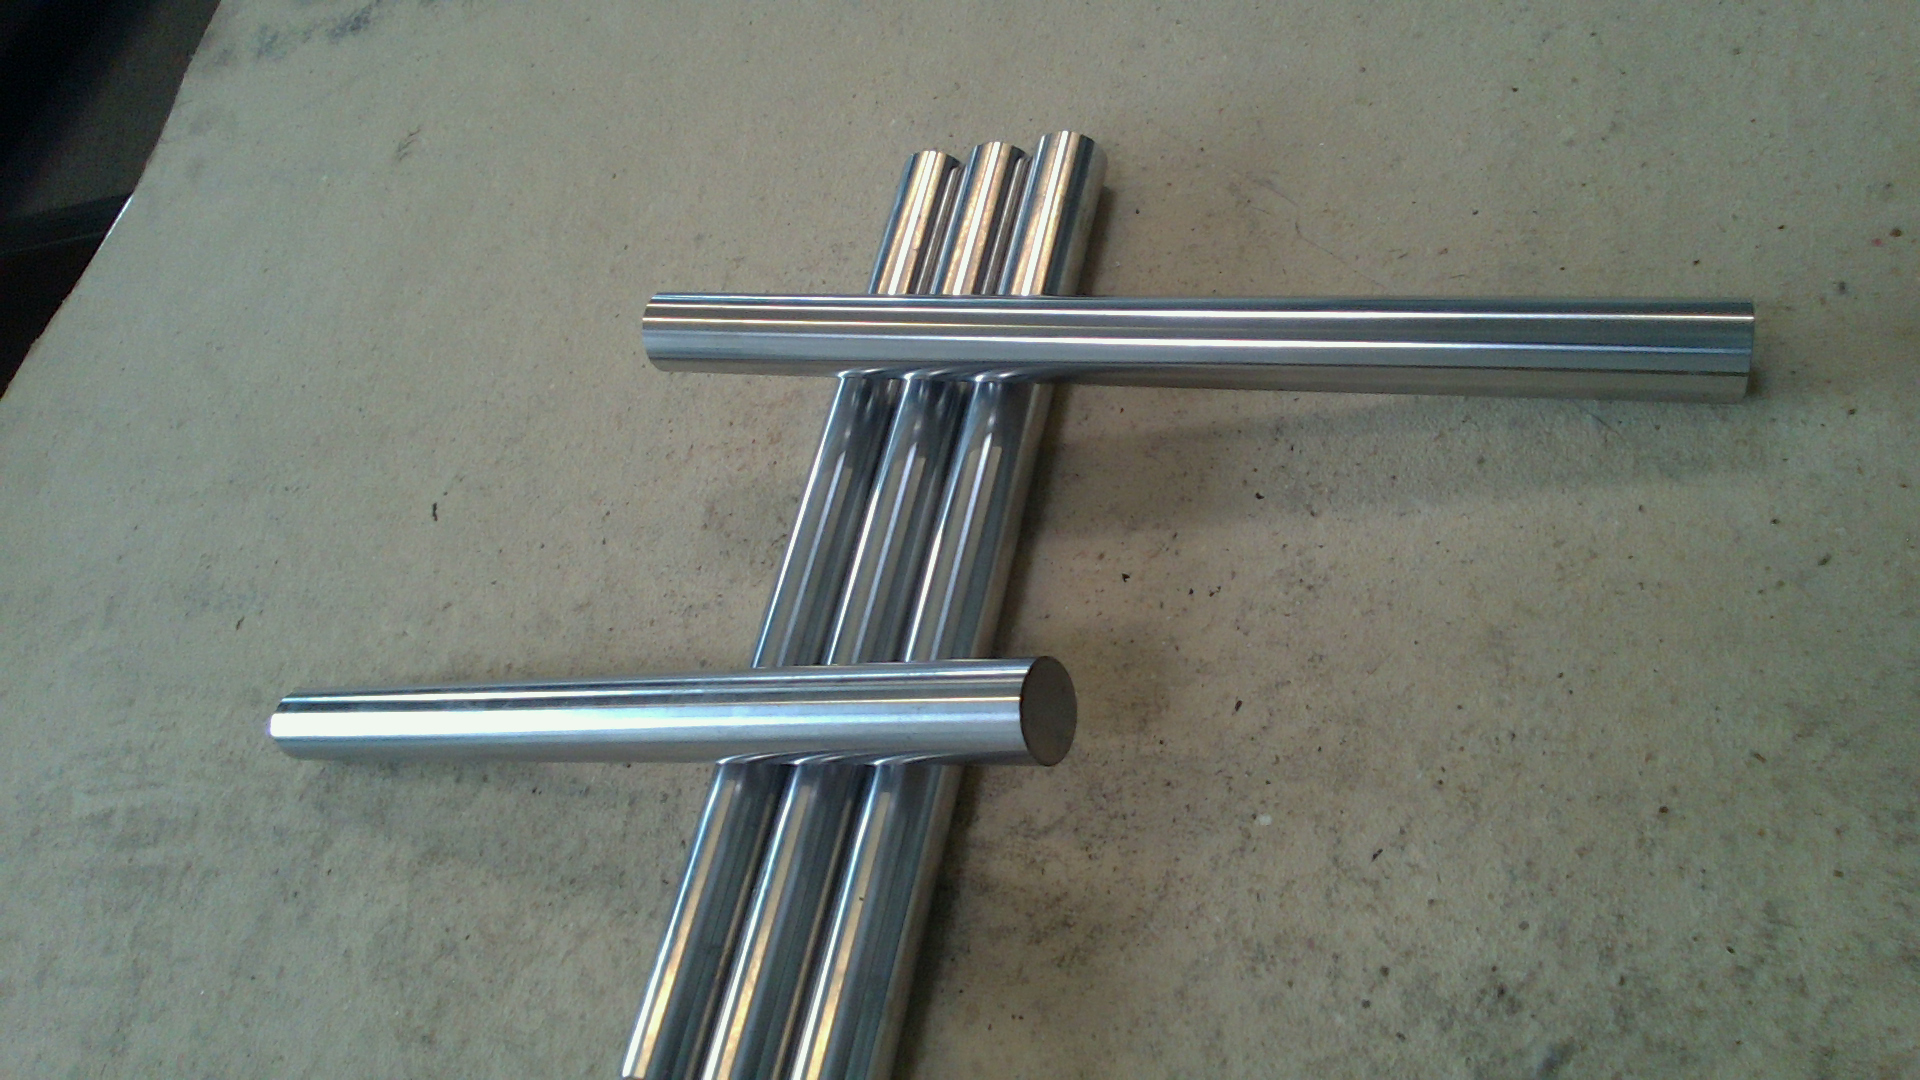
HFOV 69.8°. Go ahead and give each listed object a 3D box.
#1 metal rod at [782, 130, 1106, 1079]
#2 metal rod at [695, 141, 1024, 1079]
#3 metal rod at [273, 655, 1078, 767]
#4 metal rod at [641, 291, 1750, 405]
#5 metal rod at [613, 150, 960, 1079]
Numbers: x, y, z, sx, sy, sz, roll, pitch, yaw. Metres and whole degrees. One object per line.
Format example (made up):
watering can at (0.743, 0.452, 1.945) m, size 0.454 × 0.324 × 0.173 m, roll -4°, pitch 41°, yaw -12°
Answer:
metal rod at (0.002, 0.006, 0.388) m, size 0.025 × 0.025 × 0.300 m, roll 0°, pitch 61°, yaw 28°
metal rod at (-0.020, 0.006, 0.400) m, size 0.025 × 0.025 × 0.300 m, roll 0°, pitch 61°, yaw 28°
metal rod at (-0.103, 0.051, 0.393) m, size 0.299 × 0.025 × 0.025 m, roll -6°, pitch 59°, yaw 34°
metal rod at (0.045, -0.055, 0.379) m, size 0.299 × 0.025 × 0.025 m, roll 5°, pitch 64°, yaw 22°
metal rod at (-0.042, 0.006, 0.412) m, size 0.025 × 0.025 × 0.300 m, roll 0°, pitch 61°, yaw 28°
